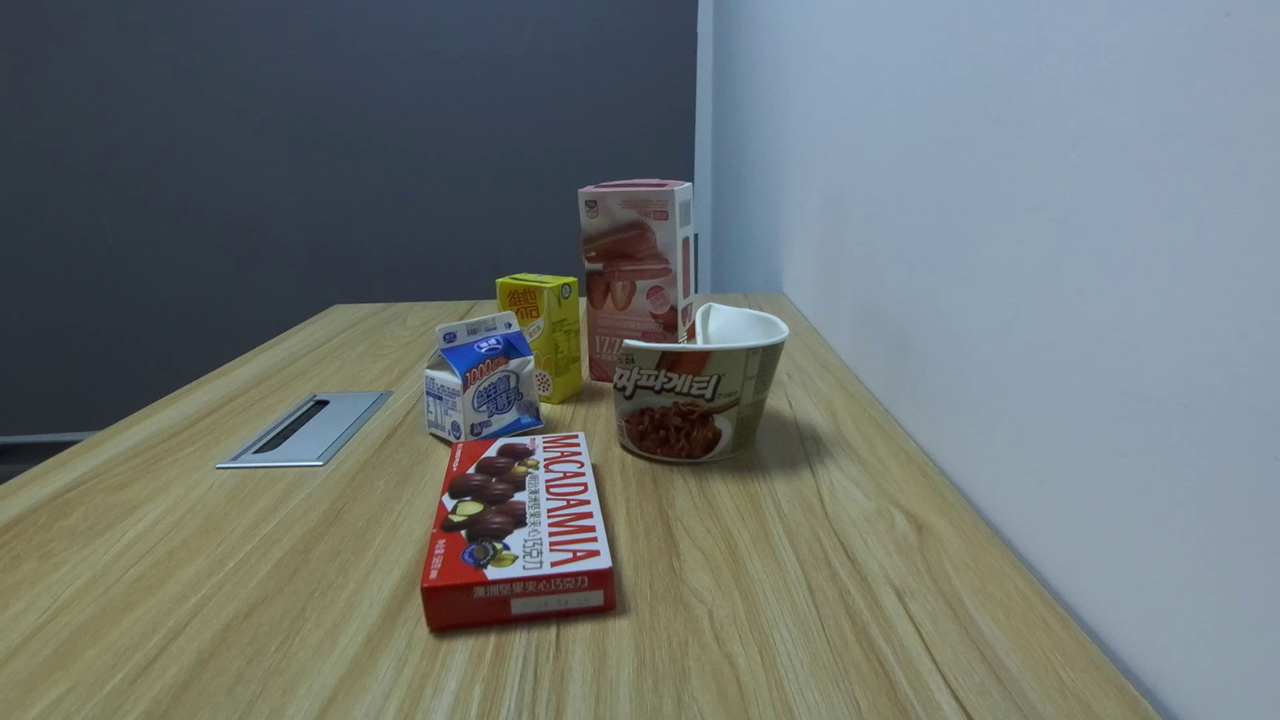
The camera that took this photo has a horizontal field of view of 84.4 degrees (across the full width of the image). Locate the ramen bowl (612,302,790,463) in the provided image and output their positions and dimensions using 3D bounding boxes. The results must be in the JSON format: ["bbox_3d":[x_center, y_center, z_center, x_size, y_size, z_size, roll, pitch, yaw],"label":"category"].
[{"bbox_3d":[0.040,0.017,0.535,0.137,0.098,0.137,-3,20,1],"label":"ramen bowl"}]

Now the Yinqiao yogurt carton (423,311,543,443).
[{"bbox_3d":[-0.127,0.013,0.570,0.078,0.094,0.070,-15,17,-37],"label":"Yinqiao yogurt carton"}]

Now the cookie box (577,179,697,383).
[{"bbox_3d":[-0.005,-0.071,0.663,0.105,0.187,0.049,5,18,23],"label":"cookie box"}]

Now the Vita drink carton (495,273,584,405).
[{"bbox_3d":[-0.090,-0.022,0.650,0.066,0.109,0.044,12,22,34],"label":"Vita drink carton"}]

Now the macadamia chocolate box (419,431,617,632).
[{"bbox_3d":[-0.072,0.092,0.428,0.096,0.027,0.177,-4,18,-8],"label":"macadamia chocolate box"}]
